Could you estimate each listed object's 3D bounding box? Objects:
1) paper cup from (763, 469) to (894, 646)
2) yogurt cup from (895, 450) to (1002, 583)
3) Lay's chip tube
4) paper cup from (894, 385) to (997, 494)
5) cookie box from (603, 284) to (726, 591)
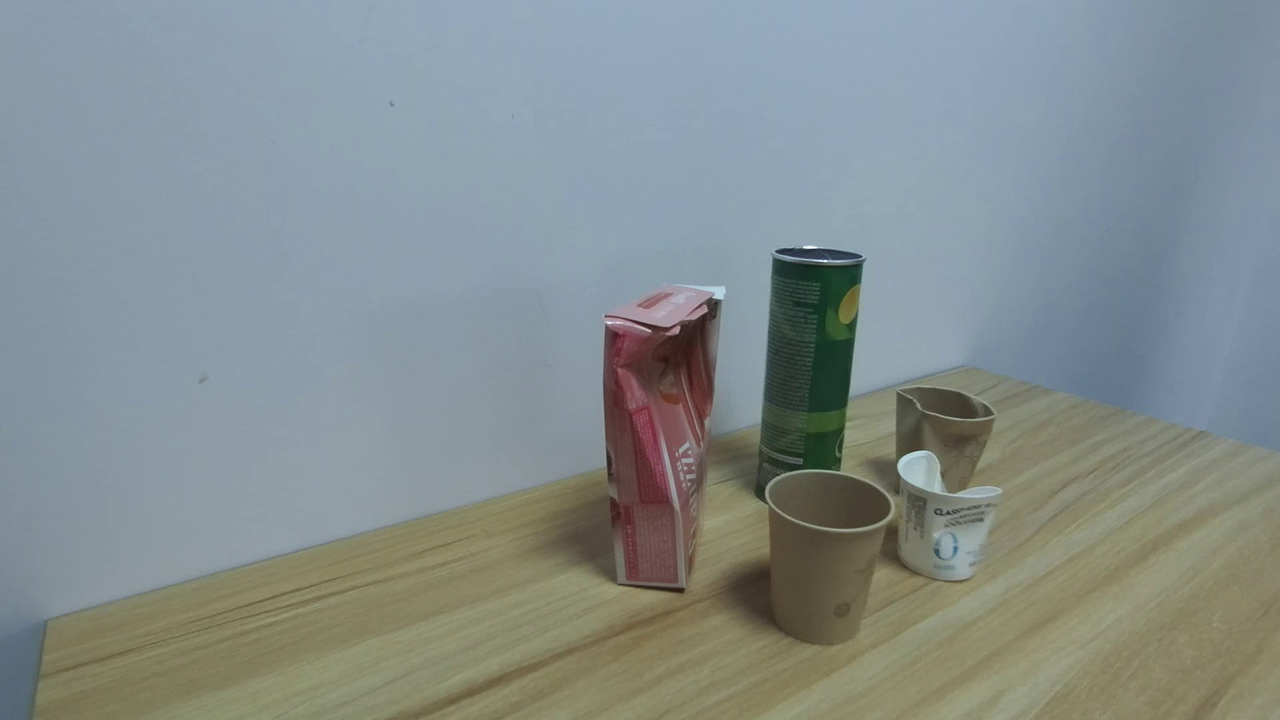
[{"bbox_3d":[0.109,0.119,0.423,0.075,0.082,0.075,1,18,0],"label":"paper cup"},{"bbox_3d":[0.206,0.109,0.486,0.067,0.070,0.067,2,20,0],"label":"yogurt cup"},{"bbox_3d":[0.132,0.015,0.558,0.071,0.202,0.071,2,17,0],"label":"Lay's chip tube"},{"bbox_3d":[0.247,0.072,0.586,0.066,0.084,0.071,0,17,-4],"label":"paper cup"},{"bbox_3d":[0.018,0.050,0.469,0.055,0.184,0.119,7,19,16],"label":"cookie box"}]
